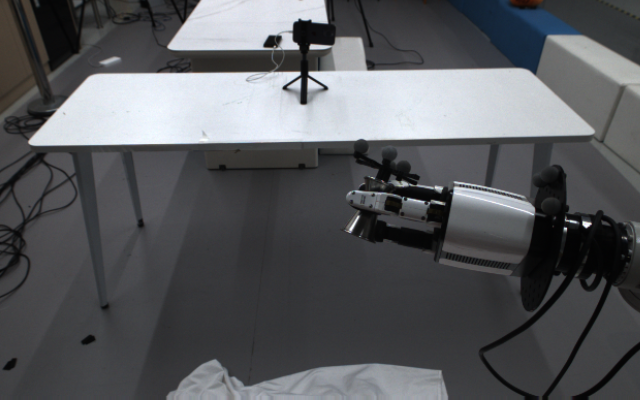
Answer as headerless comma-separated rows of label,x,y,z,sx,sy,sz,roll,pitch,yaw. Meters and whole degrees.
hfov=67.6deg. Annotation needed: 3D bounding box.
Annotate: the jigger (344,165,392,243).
jigger,0.055,0.010,0.555,0.043,0.071,0.043,24,-3,1
